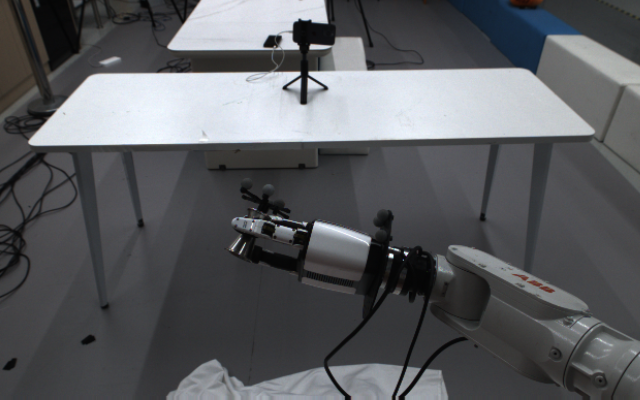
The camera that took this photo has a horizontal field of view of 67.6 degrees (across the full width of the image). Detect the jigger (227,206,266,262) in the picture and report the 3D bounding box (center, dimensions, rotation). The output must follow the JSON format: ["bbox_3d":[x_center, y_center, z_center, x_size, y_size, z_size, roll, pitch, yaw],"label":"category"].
[{"bbox_3d":[-0.102,0.048,0.688,0.043,0.043,0.071,20,73,23],"label":"jigger"}]
